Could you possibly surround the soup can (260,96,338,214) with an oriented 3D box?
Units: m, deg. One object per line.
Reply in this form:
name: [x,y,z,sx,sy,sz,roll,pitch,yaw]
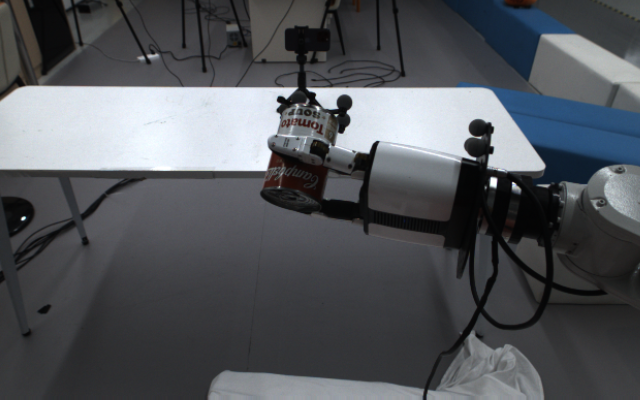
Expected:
soup can: [-0.019,-0.046,0.532,0.067,0.067,0.101,9,72,10]
